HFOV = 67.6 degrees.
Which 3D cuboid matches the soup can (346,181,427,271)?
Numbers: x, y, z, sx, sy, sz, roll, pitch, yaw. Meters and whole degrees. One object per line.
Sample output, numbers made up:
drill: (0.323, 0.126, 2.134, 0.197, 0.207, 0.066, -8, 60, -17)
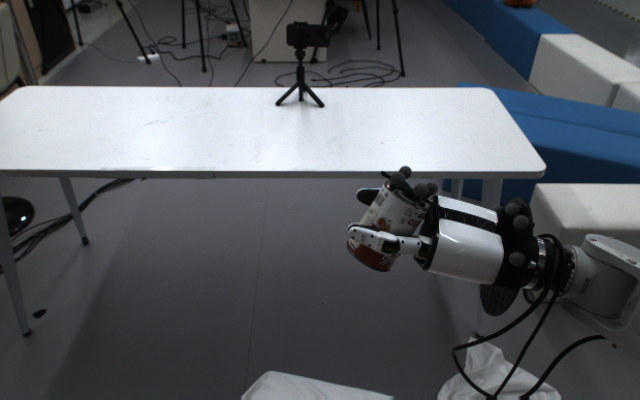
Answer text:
soup can: (0.089, 0.034, 0.630, 0.067, 0.101, 0.067, 27, 18, -9)
